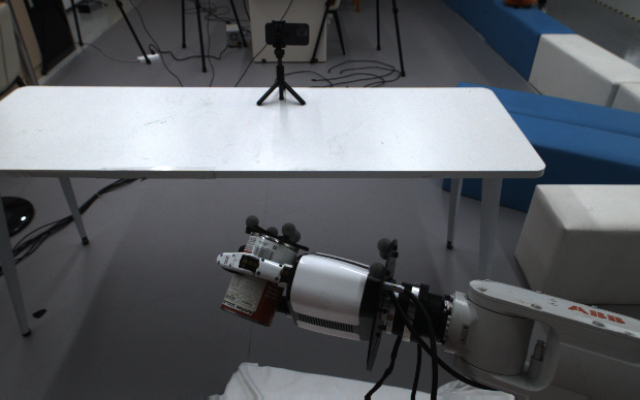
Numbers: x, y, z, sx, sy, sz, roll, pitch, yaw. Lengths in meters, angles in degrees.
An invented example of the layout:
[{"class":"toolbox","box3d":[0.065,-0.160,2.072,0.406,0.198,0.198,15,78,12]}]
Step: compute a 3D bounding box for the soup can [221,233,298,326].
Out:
[{"class":"soup can","box3d":[-0.074,0.100,0.609,0.067,0.067,0.101,15,74,18]}]
